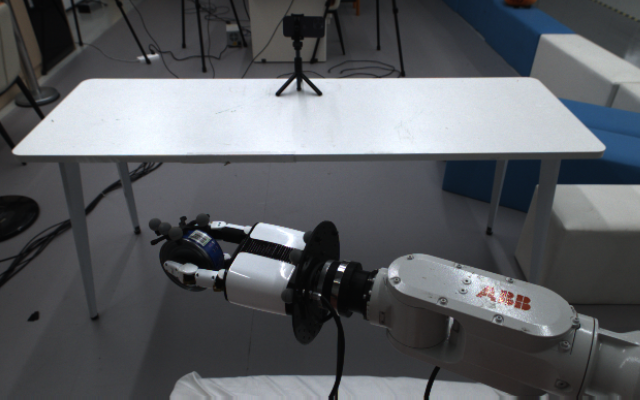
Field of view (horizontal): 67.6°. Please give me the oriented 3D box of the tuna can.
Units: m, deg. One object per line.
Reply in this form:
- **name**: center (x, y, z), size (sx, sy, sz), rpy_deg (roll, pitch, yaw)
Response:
- **tuna can**: center (-0.171, 0.085, 0.674), size (0.085, 0.085, 0.034), rpy_deg (13, 28, 15)
